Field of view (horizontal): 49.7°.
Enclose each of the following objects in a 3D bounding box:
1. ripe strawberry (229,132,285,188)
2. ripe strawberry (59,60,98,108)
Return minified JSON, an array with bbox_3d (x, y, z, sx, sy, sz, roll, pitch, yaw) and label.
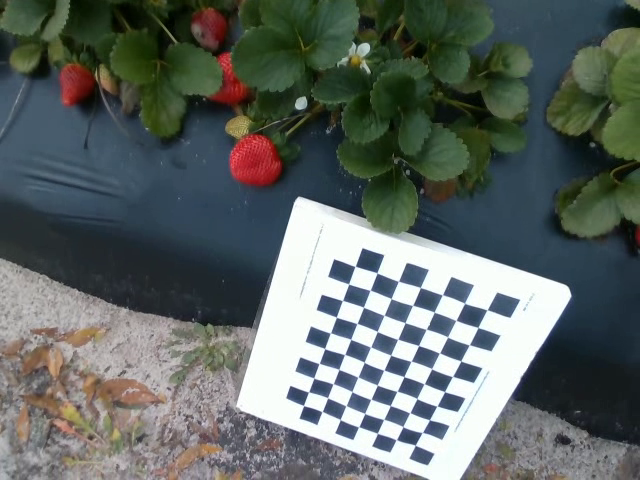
[{"bbox_3d":[-0.071,-0.077,0.689,0.057,0.056,0.065,-8,29,37],"label":"ripe strawberry"},{"bbox_3d":[-0.251,-0.161,0.700,0.043,0.052,0.041,5,-16,16],"label":"ripe strawberry"}]
